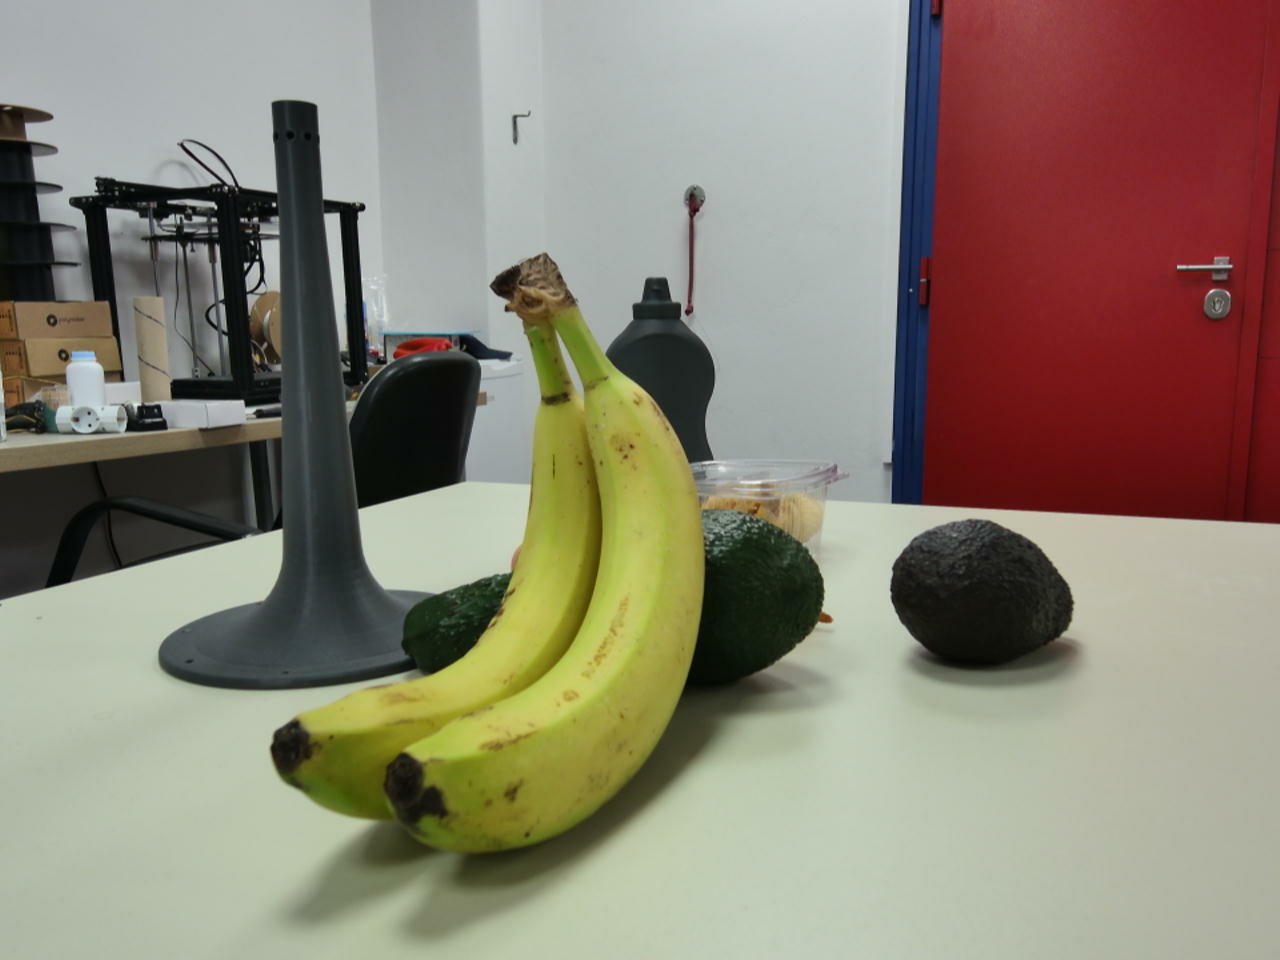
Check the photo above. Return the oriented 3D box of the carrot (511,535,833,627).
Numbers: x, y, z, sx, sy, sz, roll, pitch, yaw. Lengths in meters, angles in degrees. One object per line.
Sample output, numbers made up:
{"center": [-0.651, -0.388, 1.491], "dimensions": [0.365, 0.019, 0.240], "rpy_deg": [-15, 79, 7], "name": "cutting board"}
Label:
{"center": [0.014, 0.057, 0.576], "dimensions": [0.196, 0.041, 0.039], "rpy_deg": [3, 7, 23], "name": "carrot"}
